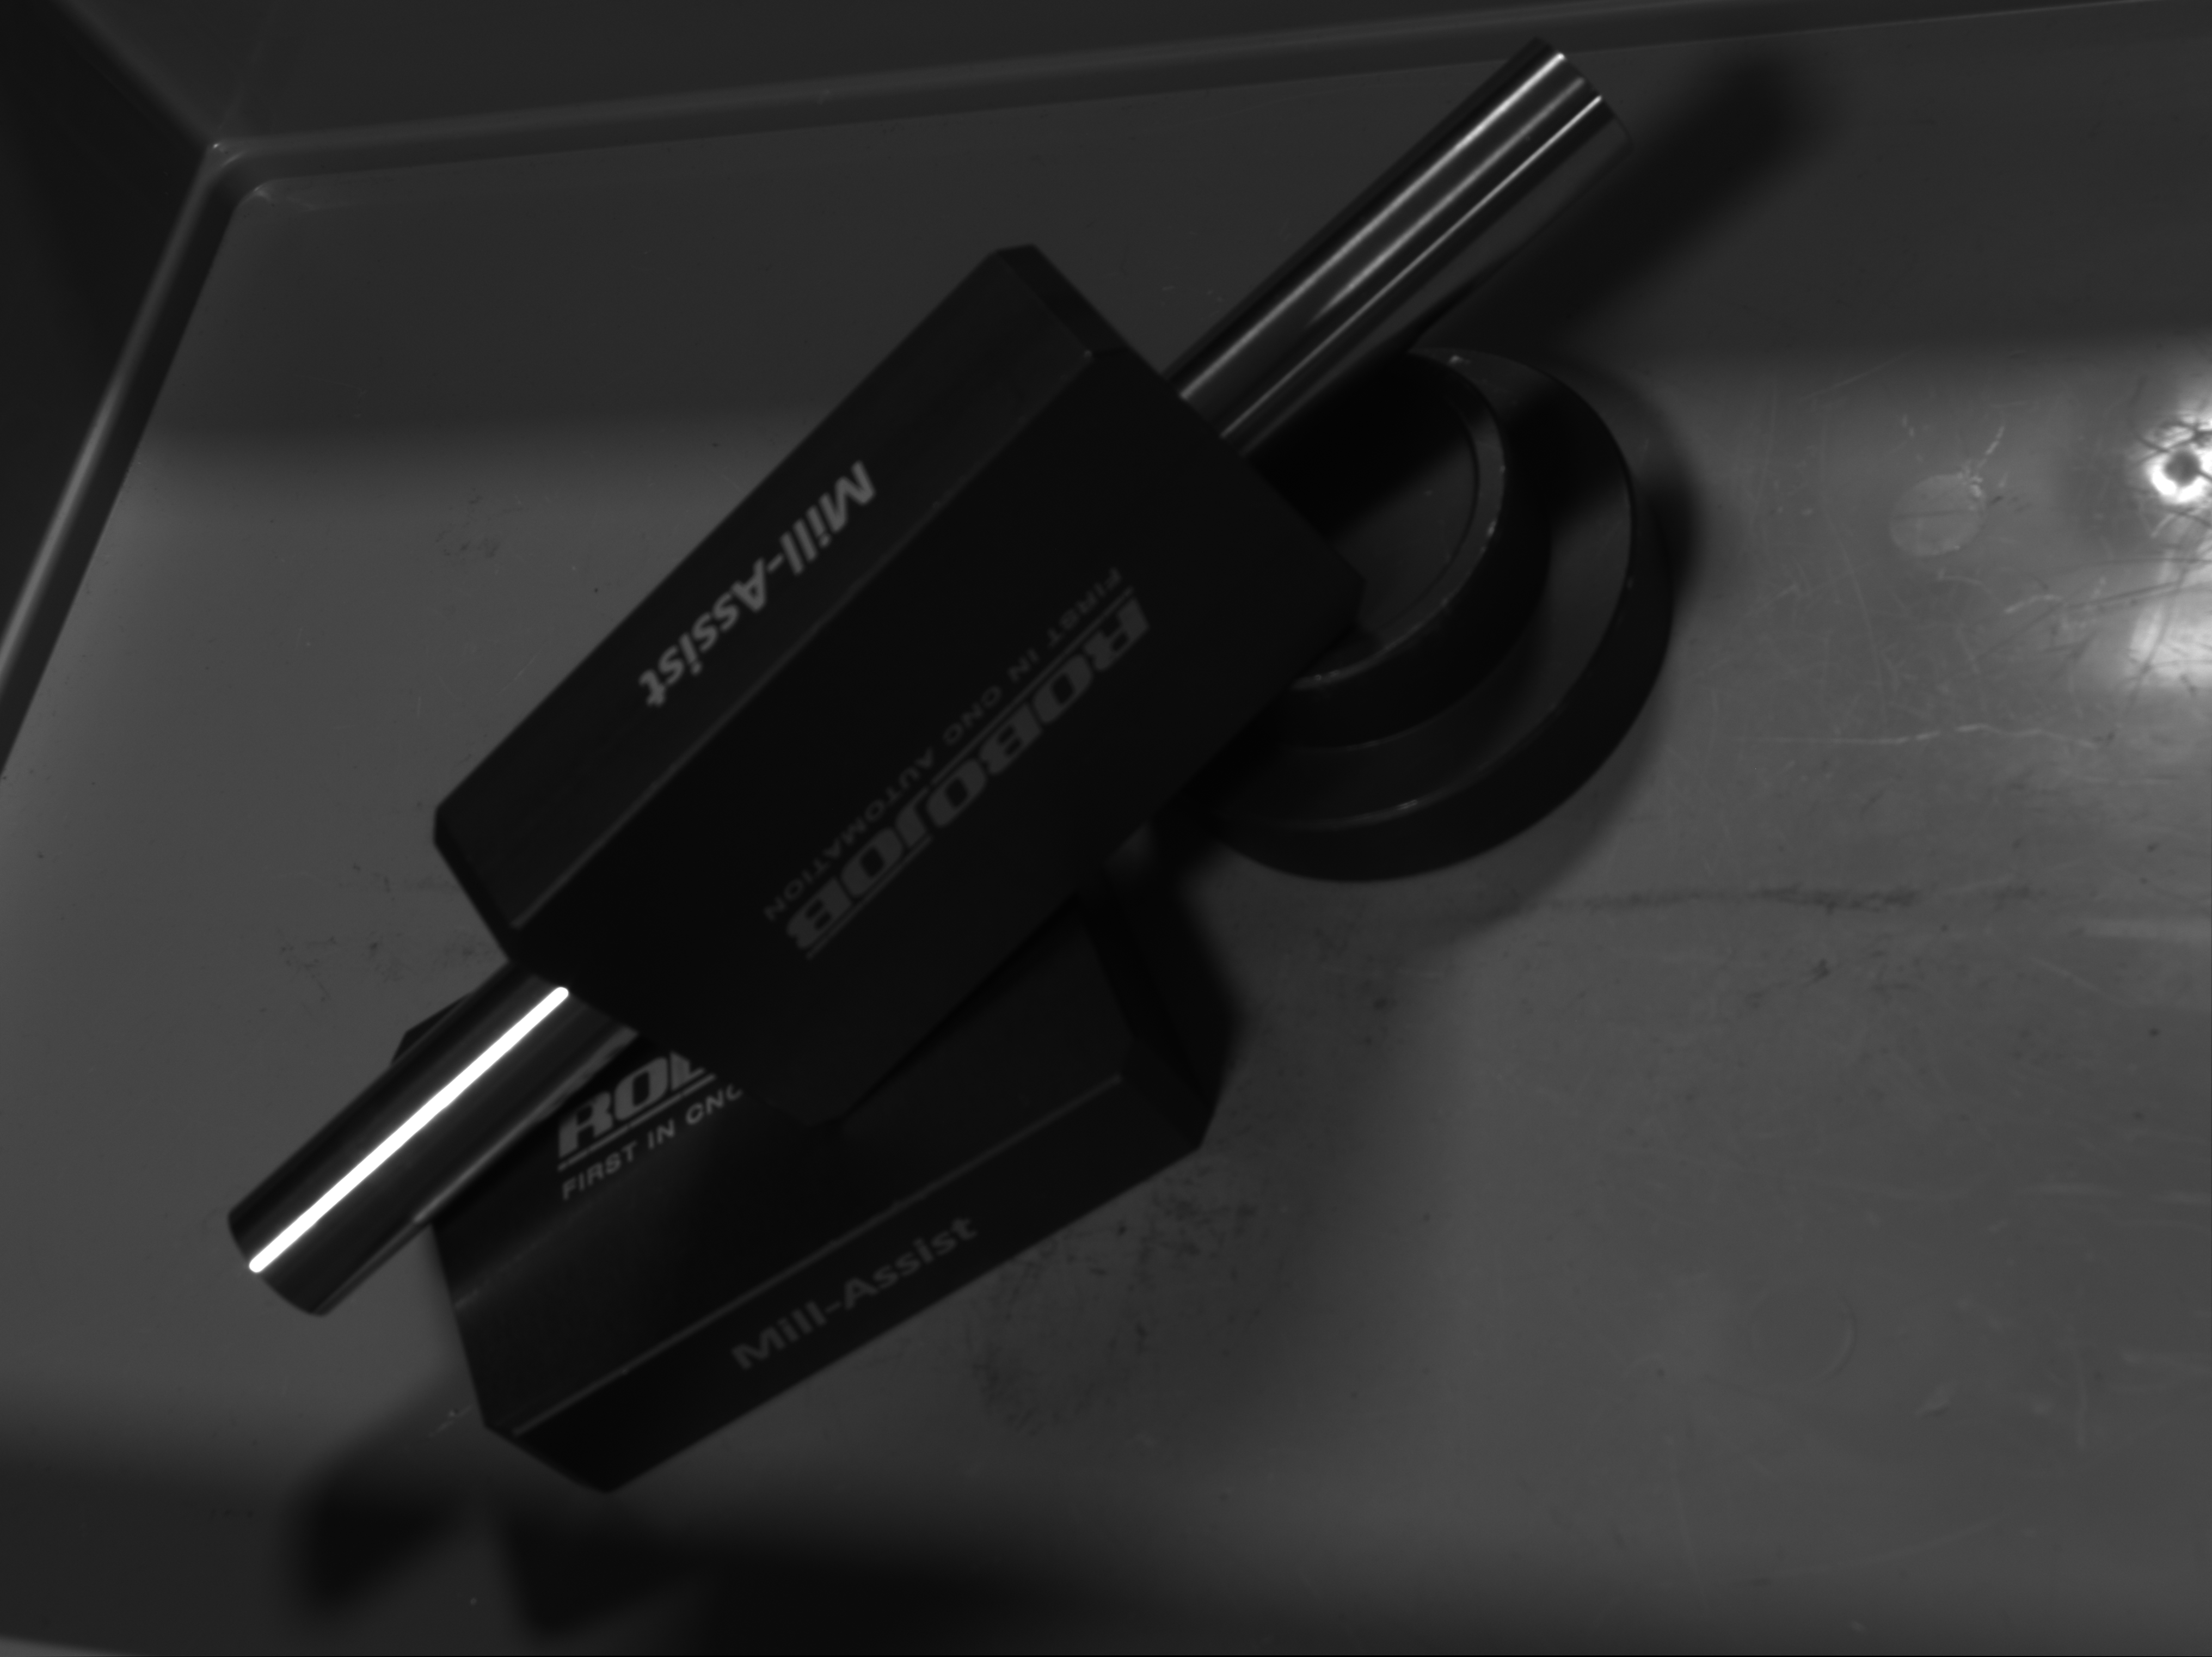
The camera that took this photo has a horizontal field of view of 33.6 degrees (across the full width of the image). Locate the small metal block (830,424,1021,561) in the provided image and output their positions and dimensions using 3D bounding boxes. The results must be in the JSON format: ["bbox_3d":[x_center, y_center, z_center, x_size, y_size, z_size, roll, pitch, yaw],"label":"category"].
[{"bbox_3d":[-0.023,-0.045,0.668,0.025,0.050,0.050,-38,51,3],"label":"small metal block"}]

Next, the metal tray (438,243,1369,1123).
[{"bbox_3d":[-0.030,-0.019,0.580,0.130,0.090,0.030,-44,53,6],"label":"metal tray"}]

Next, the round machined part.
[{"bbox_3d":[0.045,-0.043,0.634,0.098,0.042,0.098,-13,56,21],"label":"round machined part"}]

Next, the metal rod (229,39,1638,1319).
[{"bbox_3d":[-0.032,-0.023,0.624,0.300,0.025,0.025,-41,51,5],"label":"metal rod"}]

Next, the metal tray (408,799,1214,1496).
[{"bbox_3d":[-0.056,0.046,0.641,0.130,0.030,0.090,-31,51,8],"label":"metal tray"}]
